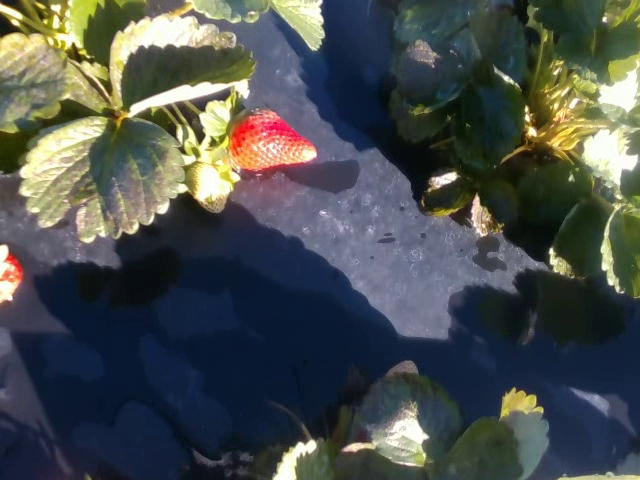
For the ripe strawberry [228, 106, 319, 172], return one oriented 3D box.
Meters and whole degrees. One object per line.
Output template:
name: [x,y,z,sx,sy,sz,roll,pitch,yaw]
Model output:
ripe strawberry: [-0.029,-0.062,0.370,0.064,0.050,0.052,14,14,1]
